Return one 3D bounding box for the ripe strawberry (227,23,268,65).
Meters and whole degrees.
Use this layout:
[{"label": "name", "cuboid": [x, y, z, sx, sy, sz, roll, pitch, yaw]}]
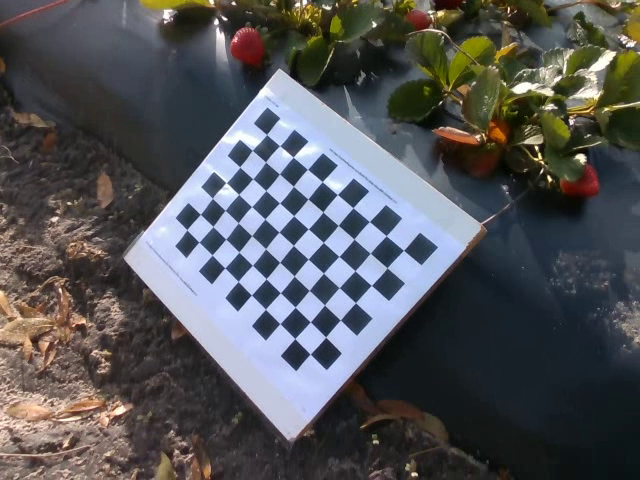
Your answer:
[{"label": "ripe strawberry", "cuboid": [-0.073, -0.185, 0.692, 0.041, 0.041, 0.047, 6, 22, 35]}]
